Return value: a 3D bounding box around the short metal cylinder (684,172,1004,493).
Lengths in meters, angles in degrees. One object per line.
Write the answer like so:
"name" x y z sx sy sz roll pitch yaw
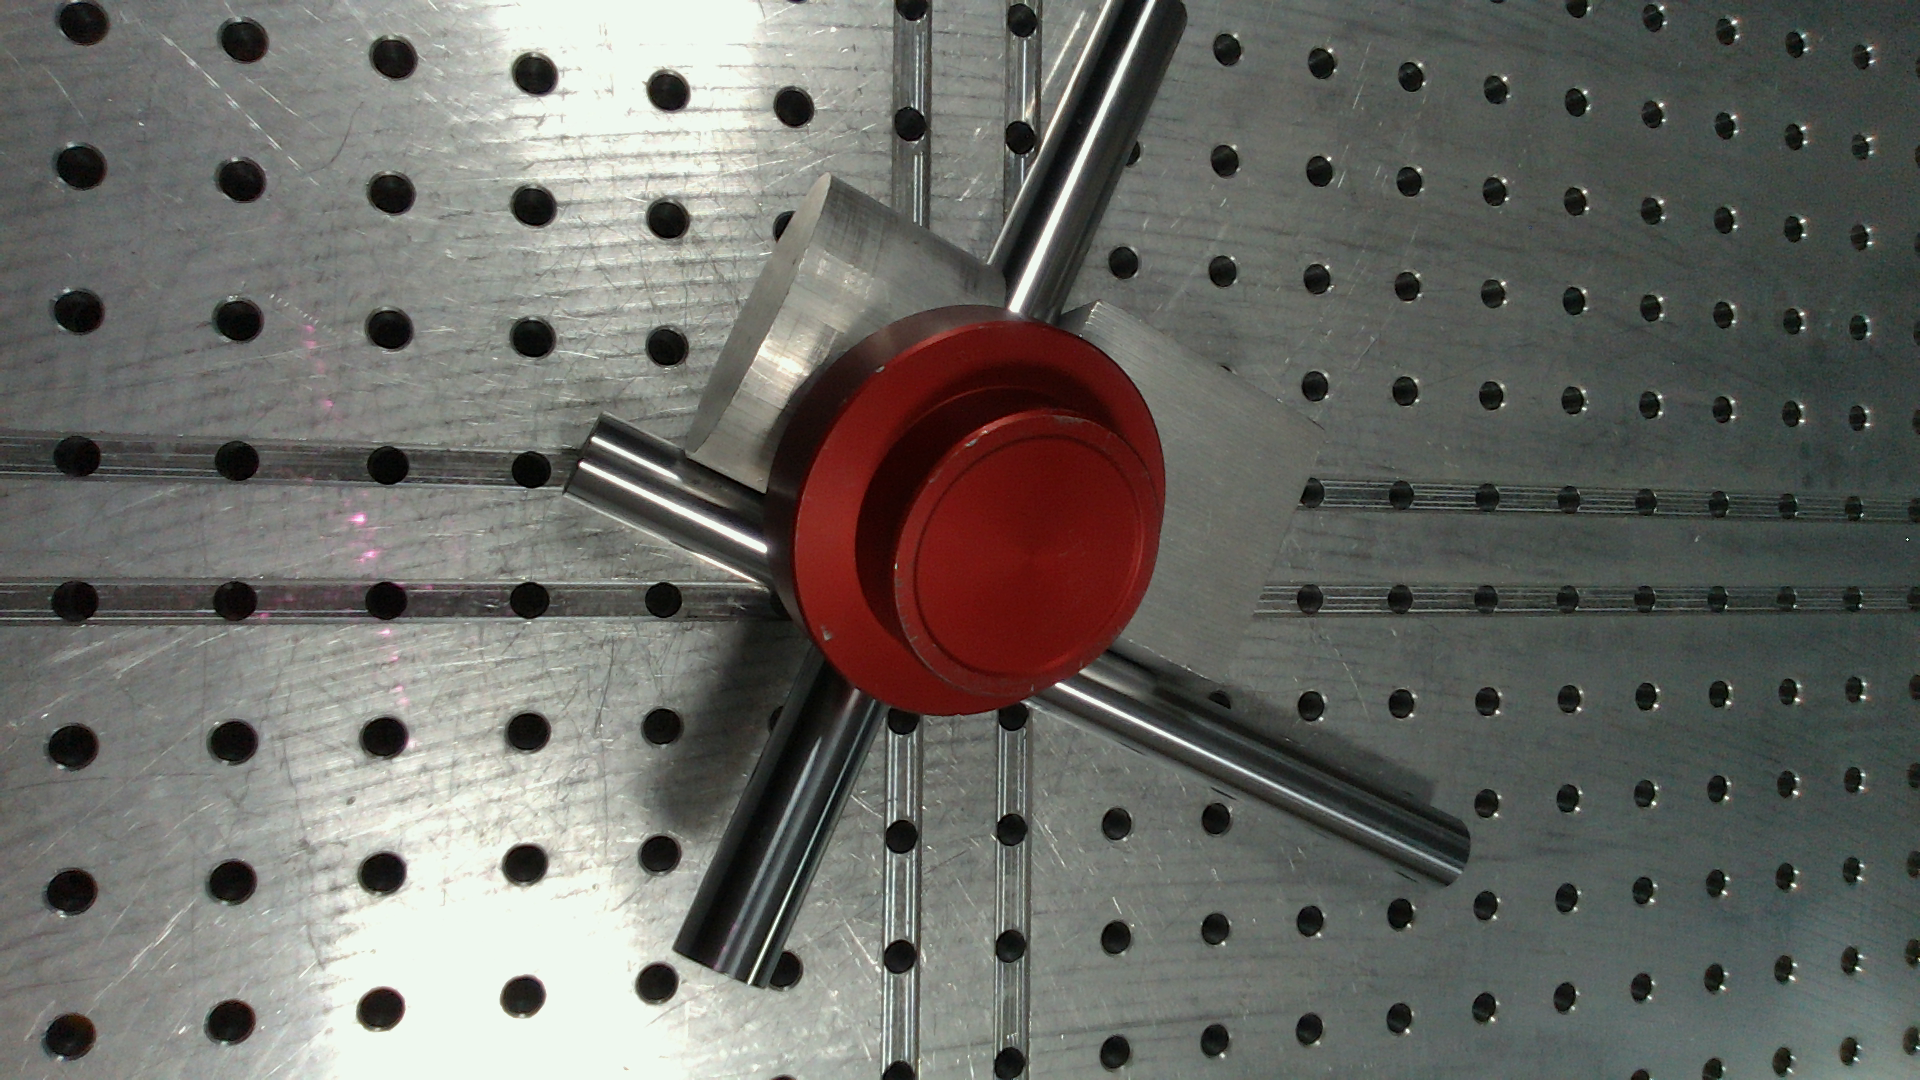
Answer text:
"short metal cylinder" -0.031 -0.047 0.355 0.050 0.080 0.080 26 82 -18

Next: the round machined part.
"round machined part" 0.007 -0.002 0.320 0.098 0.042 0.098 -10 114 -23

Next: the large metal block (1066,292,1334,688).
"large metal block" 0.048 -0.013 0.396 0.080 0.050 0.080 27 81 -18

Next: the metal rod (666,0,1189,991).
"metal rod" -0.001 -0.028 0.375 0.025 0.025 0.300 29 73 -18

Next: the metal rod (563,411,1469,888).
"metal rod" 0.030 0.040 0.406 0.301 0.025 0.025 26 82 -18
